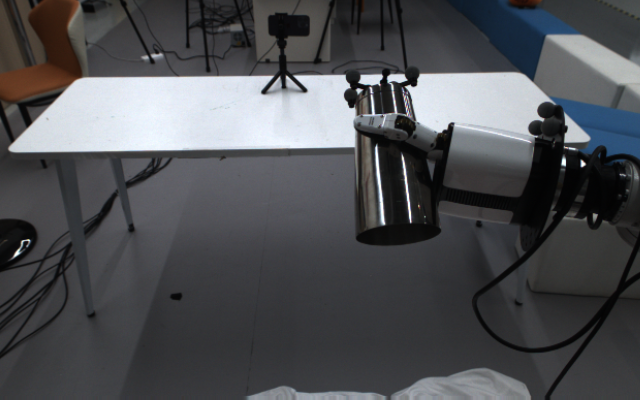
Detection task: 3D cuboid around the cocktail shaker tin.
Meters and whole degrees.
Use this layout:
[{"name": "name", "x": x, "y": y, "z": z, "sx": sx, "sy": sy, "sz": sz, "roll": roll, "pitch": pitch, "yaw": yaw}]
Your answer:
[{"name": "cocktail shaker tin", "x": 0.080, "y": -0.042, "z": 0.548, "sx": 0.093, "sy": 0.093, "sz": 0.170, "roll": -2, "pitch": 71, "yaw": -6}]
